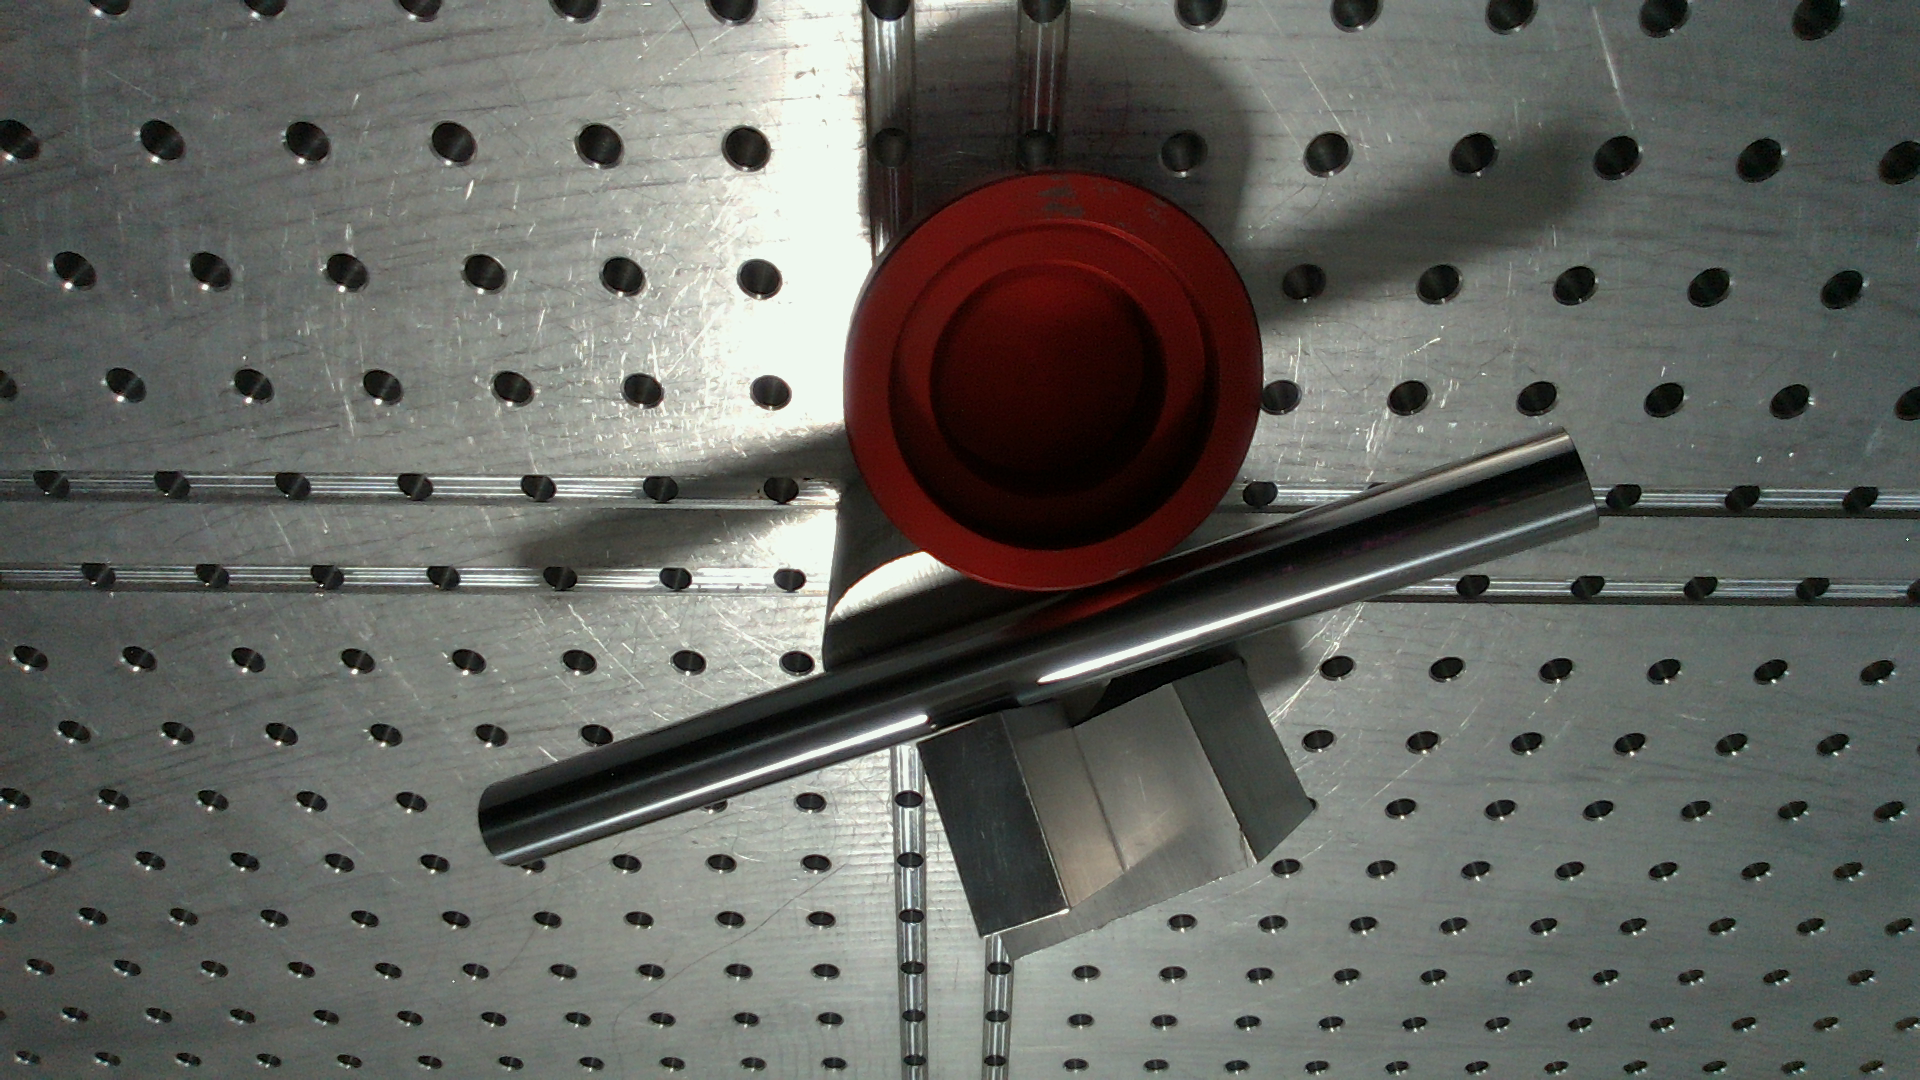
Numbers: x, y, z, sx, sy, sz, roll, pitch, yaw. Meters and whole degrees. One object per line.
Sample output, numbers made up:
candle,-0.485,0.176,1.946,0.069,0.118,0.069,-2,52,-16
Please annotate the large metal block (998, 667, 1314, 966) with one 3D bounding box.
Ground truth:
large metal block,0.053,0.080,0.415,0.080,0.050,0.080,-28,169,22

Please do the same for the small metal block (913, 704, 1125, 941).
small metal block,0.016,0.071,0.358,0.025,0.050,0.050,-23,168,19

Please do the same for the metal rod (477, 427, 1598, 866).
metal rod,0.006,0.034,0.356,0.299,0.025,0.025,-19,128,15

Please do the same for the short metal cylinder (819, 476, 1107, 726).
short metal cylinder,0.002,0.016,0.390,0.080,0.050,0.080,0,130,0

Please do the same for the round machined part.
round machined part,0.020,-0.040,0.333,0.098,0.042,0.098,-2,108,-5
